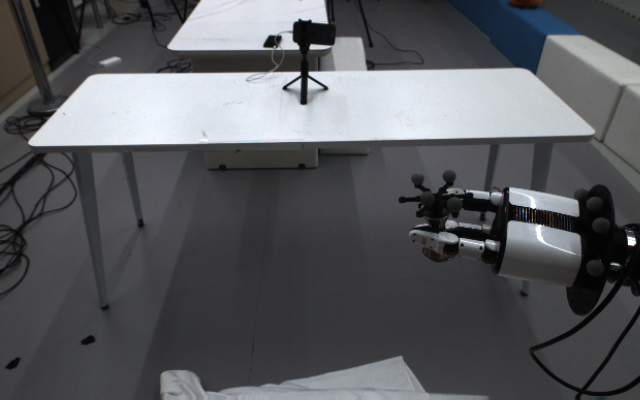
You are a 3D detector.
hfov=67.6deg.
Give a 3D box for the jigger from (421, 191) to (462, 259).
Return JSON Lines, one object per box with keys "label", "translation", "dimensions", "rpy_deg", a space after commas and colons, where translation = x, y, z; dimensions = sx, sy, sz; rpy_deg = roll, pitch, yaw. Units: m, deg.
{"label": "jigger", "translation": [0.152, 0.038, 0.630], "dimensions": [0.043, 0.071, 0.043], "rpy_deg": [-9, 31, 5]}
